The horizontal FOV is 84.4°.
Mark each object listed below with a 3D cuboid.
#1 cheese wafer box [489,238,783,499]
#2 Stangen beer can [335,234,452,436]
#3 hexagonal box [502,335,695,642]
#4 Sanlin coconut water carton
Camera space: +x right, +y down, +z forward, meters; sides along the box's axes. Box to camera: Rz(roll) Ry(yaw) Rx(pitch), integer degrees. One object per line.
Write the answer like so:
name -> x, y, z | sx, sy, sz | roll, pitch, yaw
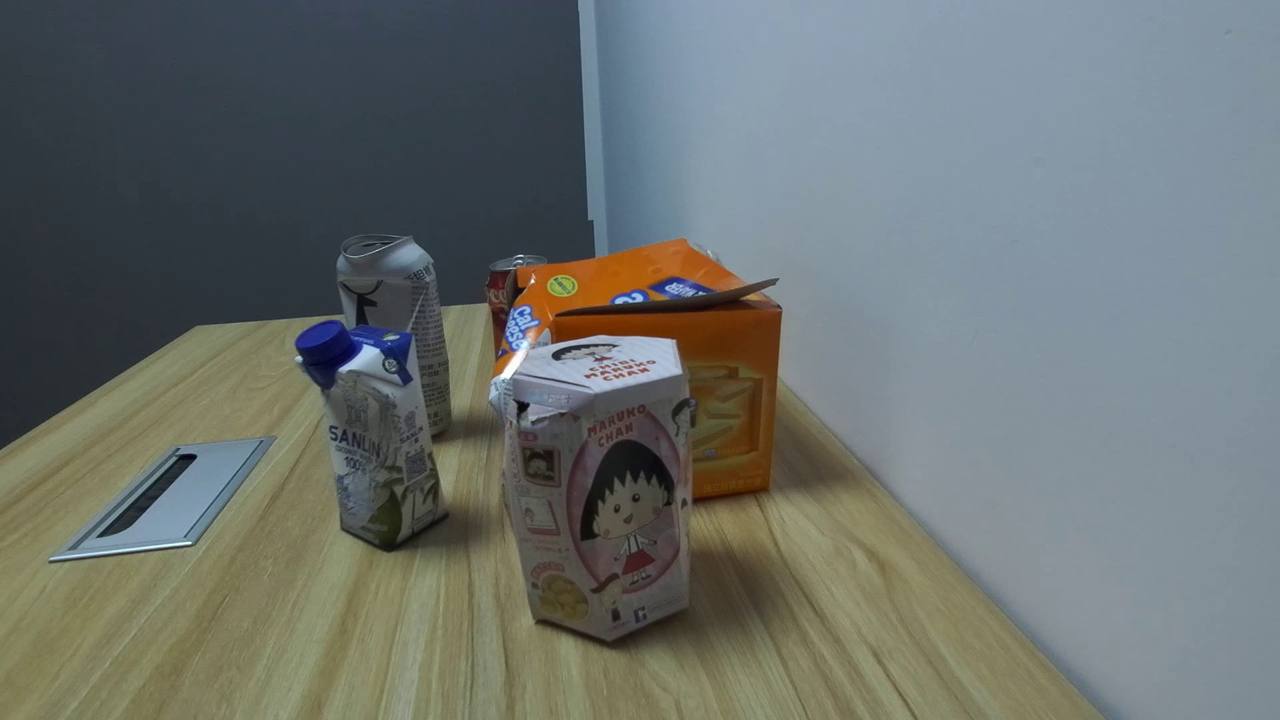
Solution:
cheese wafer box -> -0.018, -0.003, 0.534 | 0.192, 0.145, 0.218 | -7, 20, -12
Stangen beer can -> -0.197, -0.017, 0.568 | 0.077, 0.162, 0.065 | -9, 20, -15
hexagonal box -> -0.020, 0.062, 0.365 | 0.091, 0.134, 0.090 | 0, 17, 10
Sanlin coconut water carton -> -0.165, 0.042, 0.434 | 0.077, 0.142, 0.058 | 9, 28, 32
